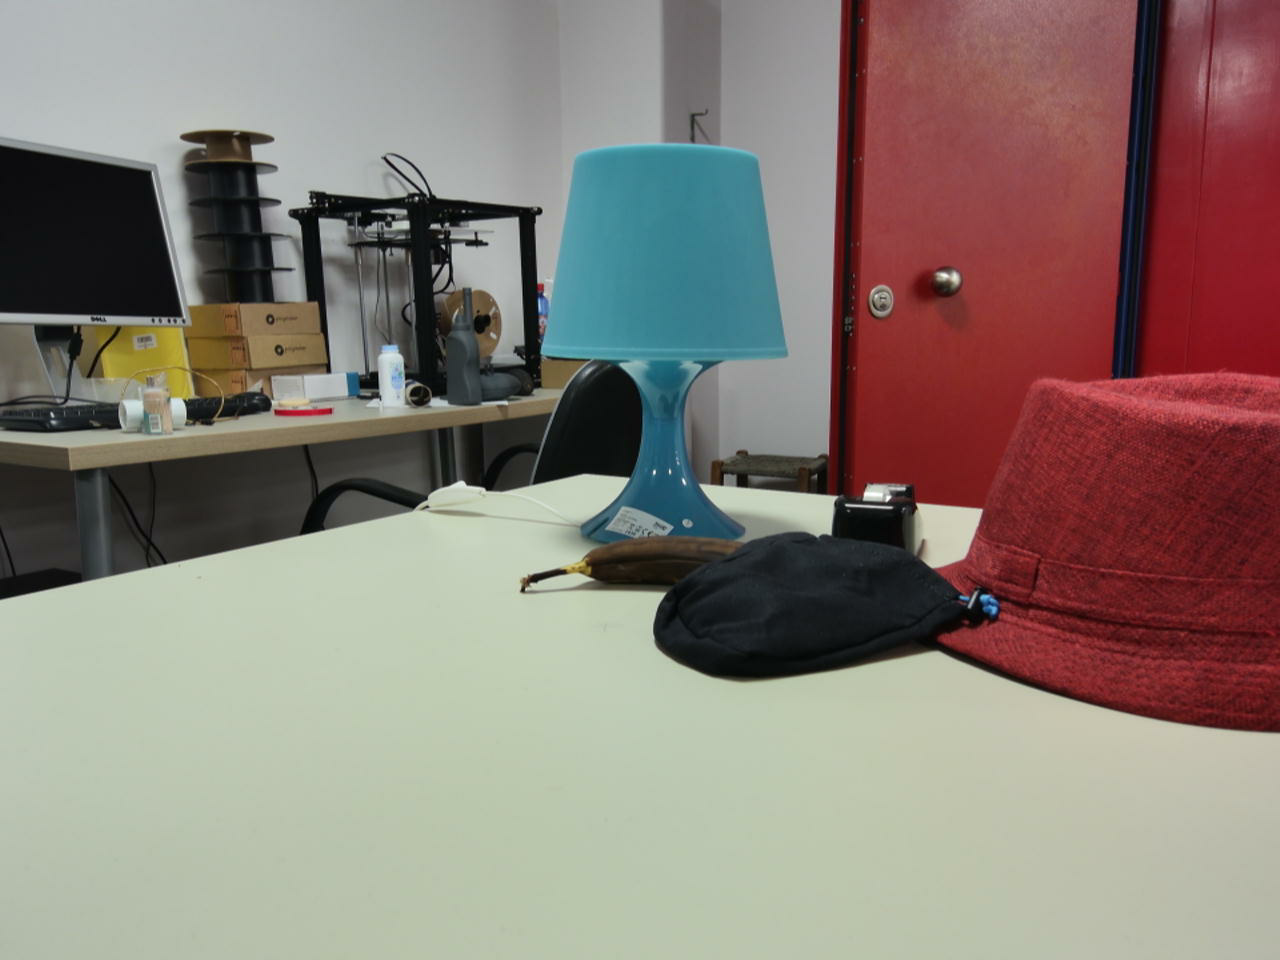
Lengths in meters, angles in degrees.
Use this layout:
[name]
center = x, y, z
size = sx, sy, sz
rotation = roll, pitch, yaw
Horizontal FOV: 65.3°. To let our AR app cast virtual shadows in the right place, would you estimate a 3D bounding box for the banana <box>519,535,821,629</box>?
[banana]
center = 0.029, 0.055, 0.603
size = 0.188, 0.033, 0.091
rotation = 6, 9, 36
